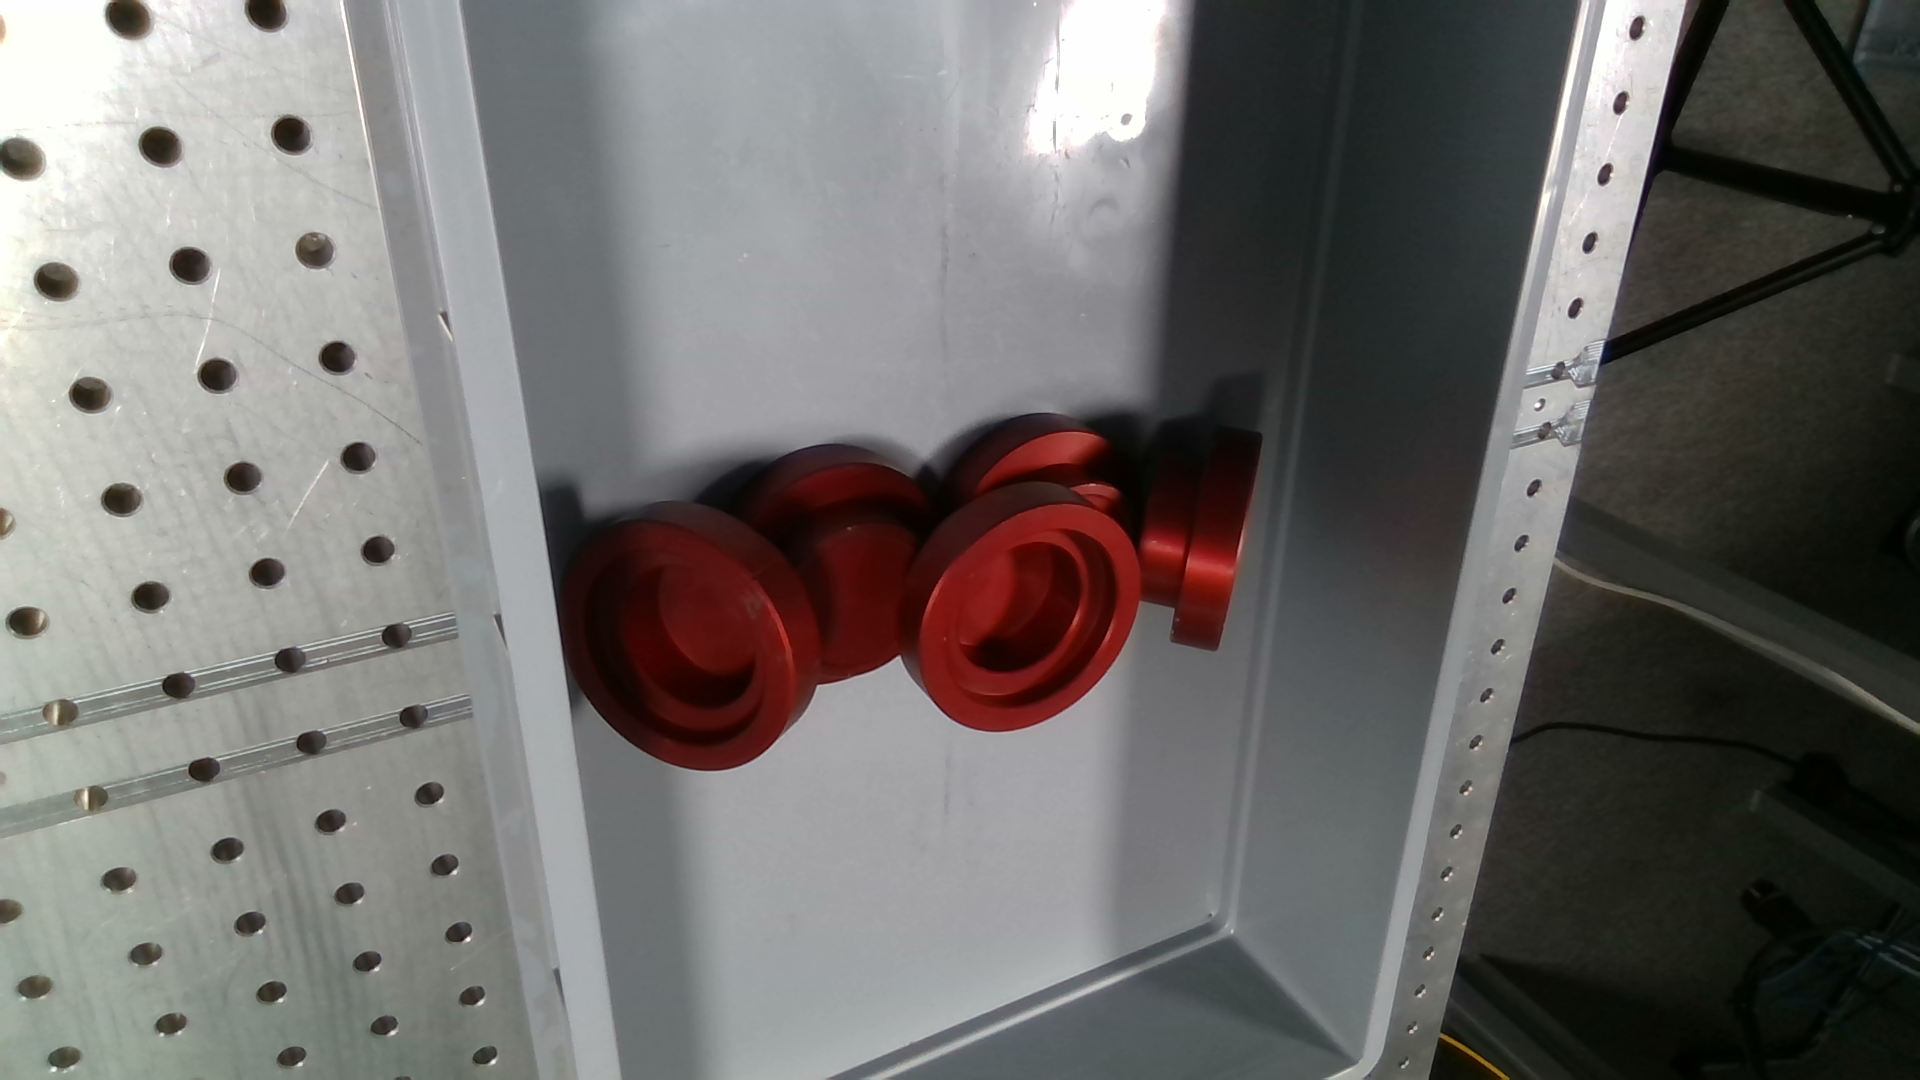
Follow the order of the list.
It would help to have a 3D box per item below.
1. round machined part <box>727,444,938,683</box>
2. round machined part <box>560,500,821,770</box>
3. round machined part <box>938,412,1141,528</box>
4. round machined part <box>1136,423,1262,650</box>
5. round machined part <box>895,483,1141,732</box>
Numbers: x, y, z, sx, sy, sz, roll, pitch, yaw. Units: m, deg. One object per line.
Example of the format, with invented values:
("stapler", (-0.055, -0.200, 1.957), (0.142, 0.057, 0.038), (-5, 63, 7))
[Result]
("round machined part", (-0.048, 0.015, 0.546), (0.098, 0.042, 0.098), (-14, 122, -25))
("round machined part", (-0.094, 0.031, 0.504), (0.042, 0.098, 0.098), (-42, 143, -58))
("round machined part", (0.038, -0.002, 0.590), (0.098, 0.042, 0.098), (-14, 122, -25))
("round machined part", (0.102, -0.003, 0.605), (0.042, 0.098, 0.098), (11, 115, 10))
("round machined part", (0.018, 0.022, 0.536), (0.098, 0.042, 0.098), (-14, 122, -25))
